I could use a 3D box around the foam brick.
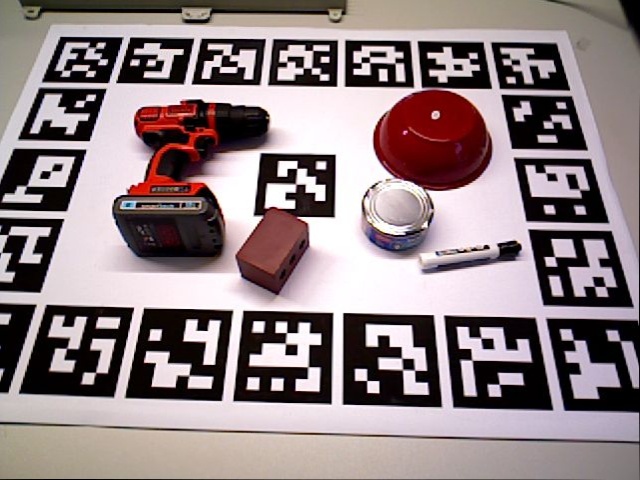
[{"bbox_3d":[-0.051,0.018,0.612,0.051,0.054,0.077,22,63,11],"label":"foam brick"}]

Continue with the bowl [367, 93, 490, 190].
[{"bbox_3d":[0.143,-0.141,0.706,0.161,0.056,0.159,-2,52,2],"label":"bowl"}]

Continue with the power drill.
[{"bbox_3d":[-0.165,-0.081,0.666,0.183,0.058,0.184,1,57,-3],"label":"power drill"}]

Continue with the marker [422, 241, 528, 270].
[{"bbox_3d":[0.178,0.017,0.620,0.120,0.020,0.019,-8,61,-4],"label":"marker"}]

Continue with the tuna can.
[{"bbox_3d":[0.093,-0.031,0.642,0.085,0.034,0.084,1,59,-2],"label":"tuna can"}]
